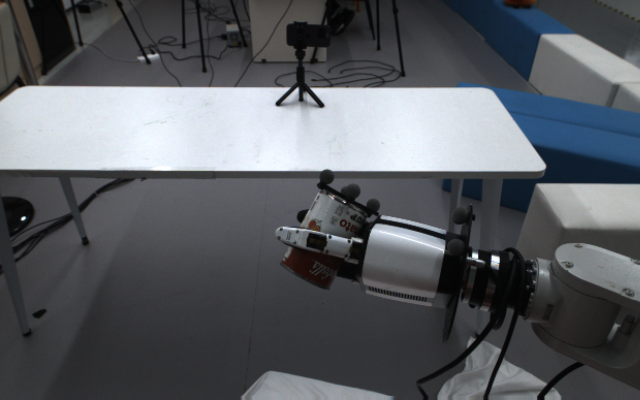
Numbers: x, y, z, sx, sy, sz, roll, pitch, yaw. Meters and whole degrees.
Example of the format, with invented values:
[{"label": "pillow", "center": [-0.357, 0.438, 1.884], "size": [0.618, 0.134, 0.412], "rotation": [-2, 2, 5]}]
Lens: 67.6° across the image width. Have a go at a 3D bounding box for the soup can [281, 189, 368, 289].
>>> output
[{"label": "soup can", "center": [0.007, 0.047, 0.580], "size": [0.067, 0.101, 0.067], "rotation": [28, -3, 2]}]
